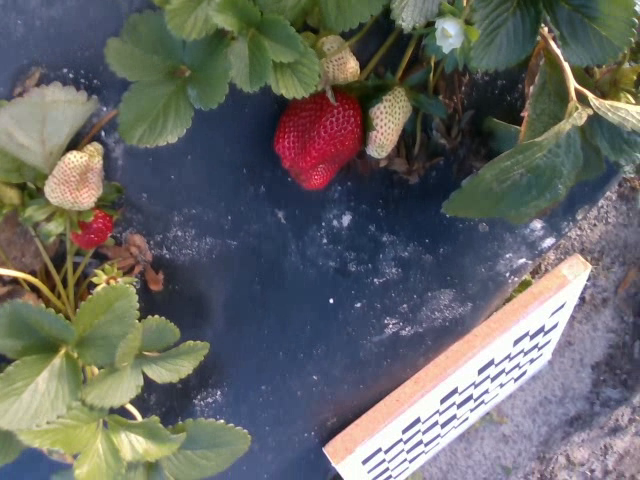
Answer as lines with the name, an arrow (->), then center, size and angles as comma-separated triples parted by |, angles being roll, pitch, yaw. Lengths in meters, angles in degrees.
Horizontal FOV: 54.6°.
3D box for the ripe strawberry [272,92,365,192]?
ripe strawberry -> -0.002, -0.059, 0.371 | 0.057, 0.071, 0.058 | 25, -32, 19
